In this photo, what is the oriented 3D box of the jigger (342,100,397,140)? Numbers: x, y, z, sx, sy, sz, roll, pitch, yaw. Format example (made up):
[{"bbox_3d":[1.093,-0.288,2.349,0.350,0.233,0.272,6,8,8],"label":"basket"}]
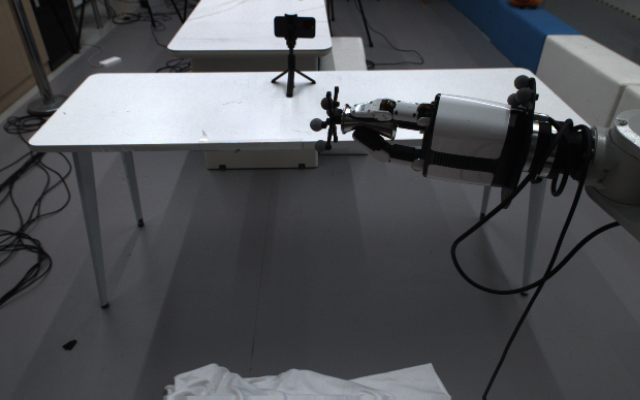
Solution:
[{"bbox_3d":[0.072,-0.108,0.635,0.071,0.043,0.043,8,35,16],"label":"jigger"}]
